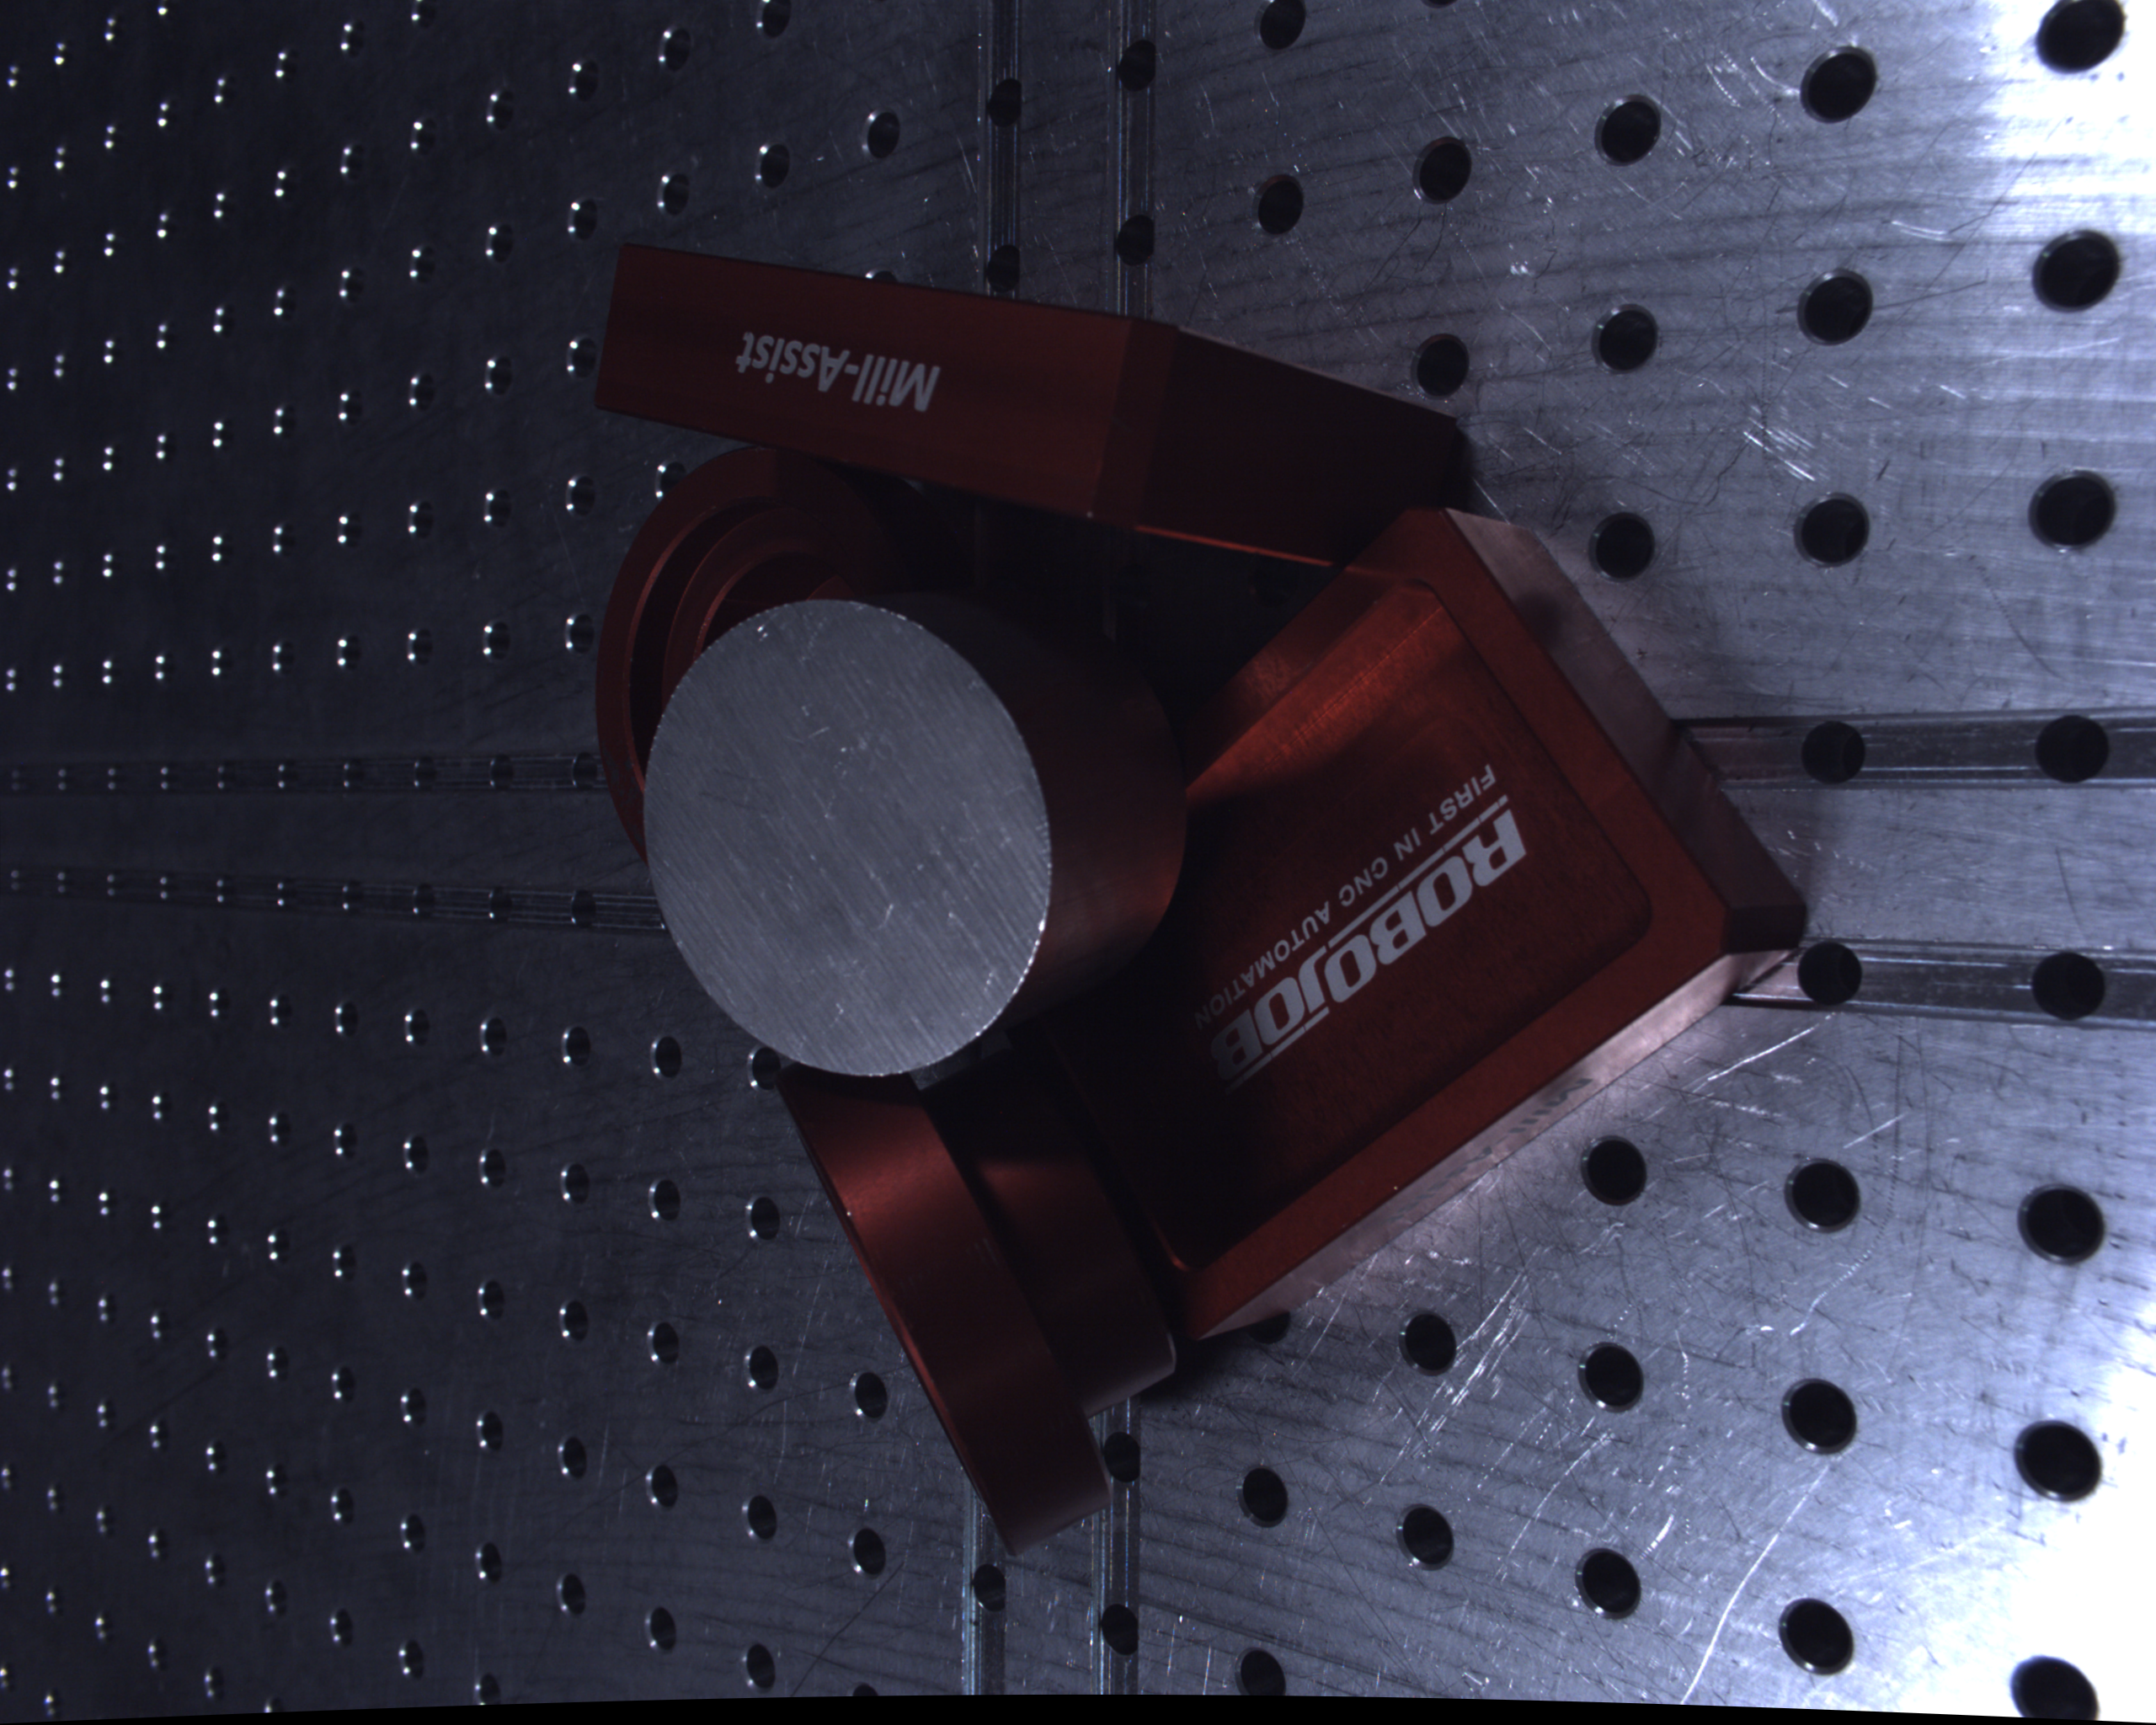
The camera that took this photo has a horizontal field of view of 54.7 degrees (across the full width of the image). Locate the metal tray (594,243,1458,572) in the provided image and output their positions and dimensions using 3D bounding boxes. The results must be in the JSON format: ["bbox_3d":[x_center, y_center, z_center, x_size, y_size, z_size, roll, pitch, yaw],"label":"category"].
[{"bbox_3d":[-0.011,-0.081,0.374,0.130,0.091,0.030,20,103,38],"label":"metal tray"}]

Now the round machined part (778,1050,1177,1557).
[{"bbox_3d":[-0.016,0.074,0.387,0.098,0.042,0.098,59,168,23],"label":"round machined part"}]

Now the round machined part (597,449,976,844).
[{"bbox_3d":[-0.054,-0.037,0.441,0.098,0.042,0.097,0,90,39],"label":"round machined part"}]

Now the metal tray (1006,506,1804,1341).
[{"bbox_3d":[0.046,0.013,0.365,0.129,0.030,0.090,-44,64,31],"label":"metal tray"}]

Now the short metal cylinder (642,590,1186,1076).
[{"bbox_3d":[-0.028,-0.007,0.366,0.080,0.050,0.079,5,101,27],"label":"short metal cylinder"}]
